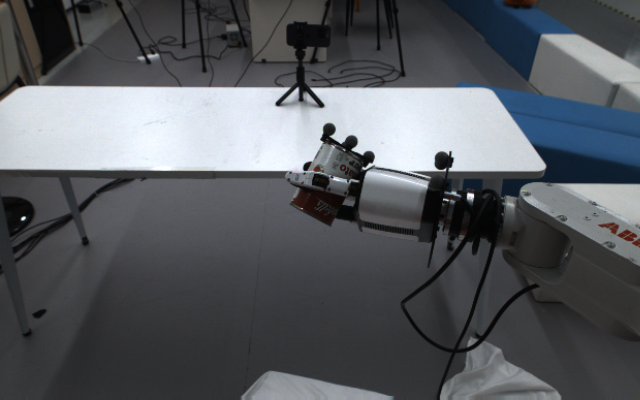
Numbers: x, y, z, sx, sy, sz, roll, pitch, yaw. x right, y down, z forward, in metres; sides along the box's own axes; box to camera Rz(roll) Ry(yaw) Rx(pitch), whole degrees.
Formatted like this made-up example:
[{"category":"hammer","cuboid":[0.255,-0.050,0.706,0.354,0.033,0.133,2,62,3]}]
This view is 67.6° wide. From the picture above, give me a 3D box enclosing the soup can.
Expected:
[{"category":"soup can","cuboid":[0.010,-0.023,0.679,0.067,0.101,0.067,29,-2,1]}]
